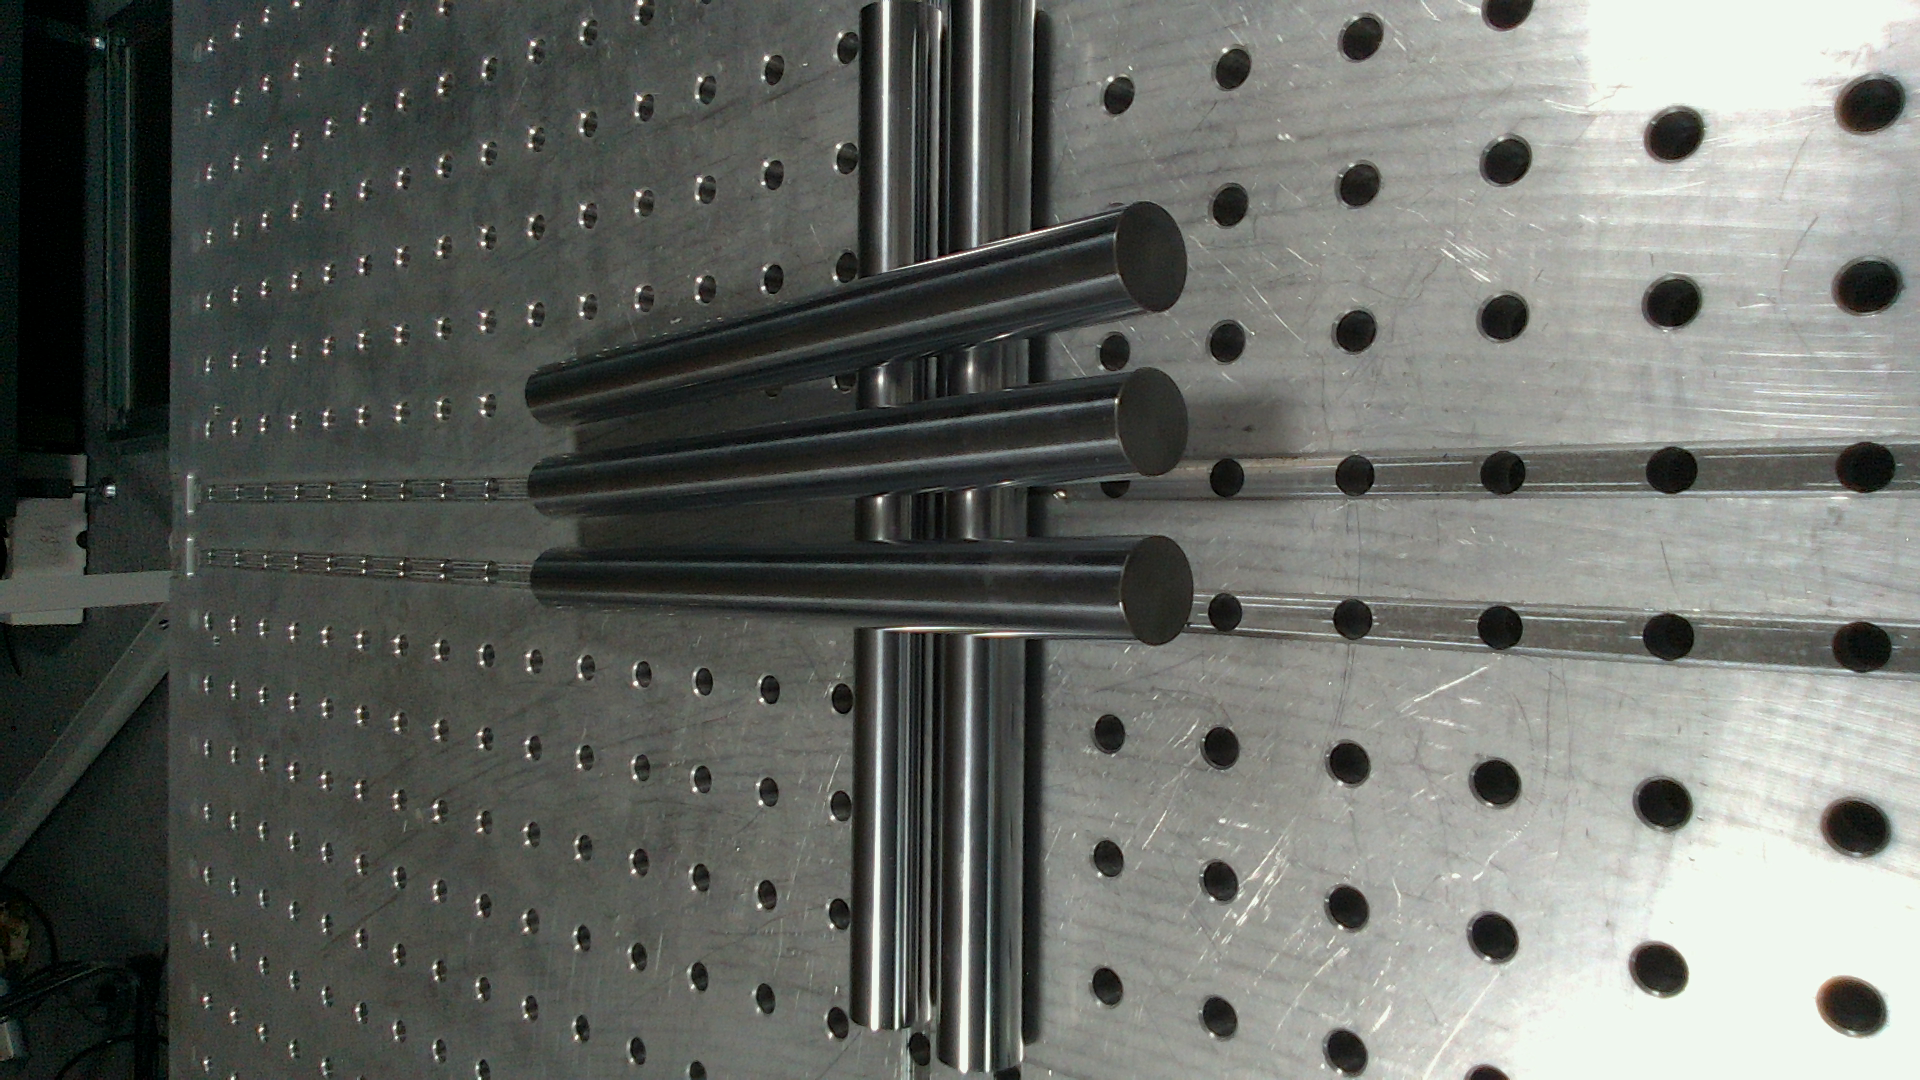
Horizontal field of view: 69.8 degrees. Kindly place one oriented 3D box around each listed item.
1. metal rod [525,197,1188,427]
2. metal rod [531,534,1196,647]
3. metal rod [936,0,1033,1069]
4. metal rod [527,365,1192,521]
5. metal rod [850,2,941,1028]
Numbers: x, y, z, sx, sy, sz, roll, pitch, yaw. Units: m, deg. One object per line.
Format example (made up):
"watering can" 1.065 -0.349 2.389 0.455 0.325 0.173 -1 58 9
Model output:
"metal rod" -0.056 -0.059 0.418 0.299 0.025 0.025 -3 88 48
"metal rod" -0.054 0.013 0.416 0.299 0.025 0.025 -1 89 49
"metal rod" 0.007 -0.004 0.392 0.025 0.025 0.300 1 91 40
"metal rod" -0.056 -0.023 0.418 0.299 0.025 0.025 -2 89 48
"metal rod" -0.020 -0.007 0.415 0.025 0.025 0.300 1 91 40
